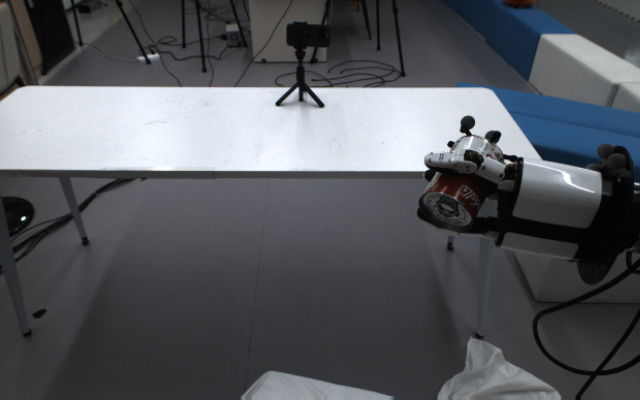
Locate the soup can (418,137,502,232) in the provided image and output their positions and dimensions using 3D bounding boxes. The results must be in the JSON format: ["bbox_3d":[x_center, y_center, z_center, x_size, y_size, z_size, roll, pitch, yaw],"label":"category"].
[{"bbox_3d":[0.175,-0.021,0.586,0.067,0.067,0.101,22,60,26],"label":"soup can"}]
